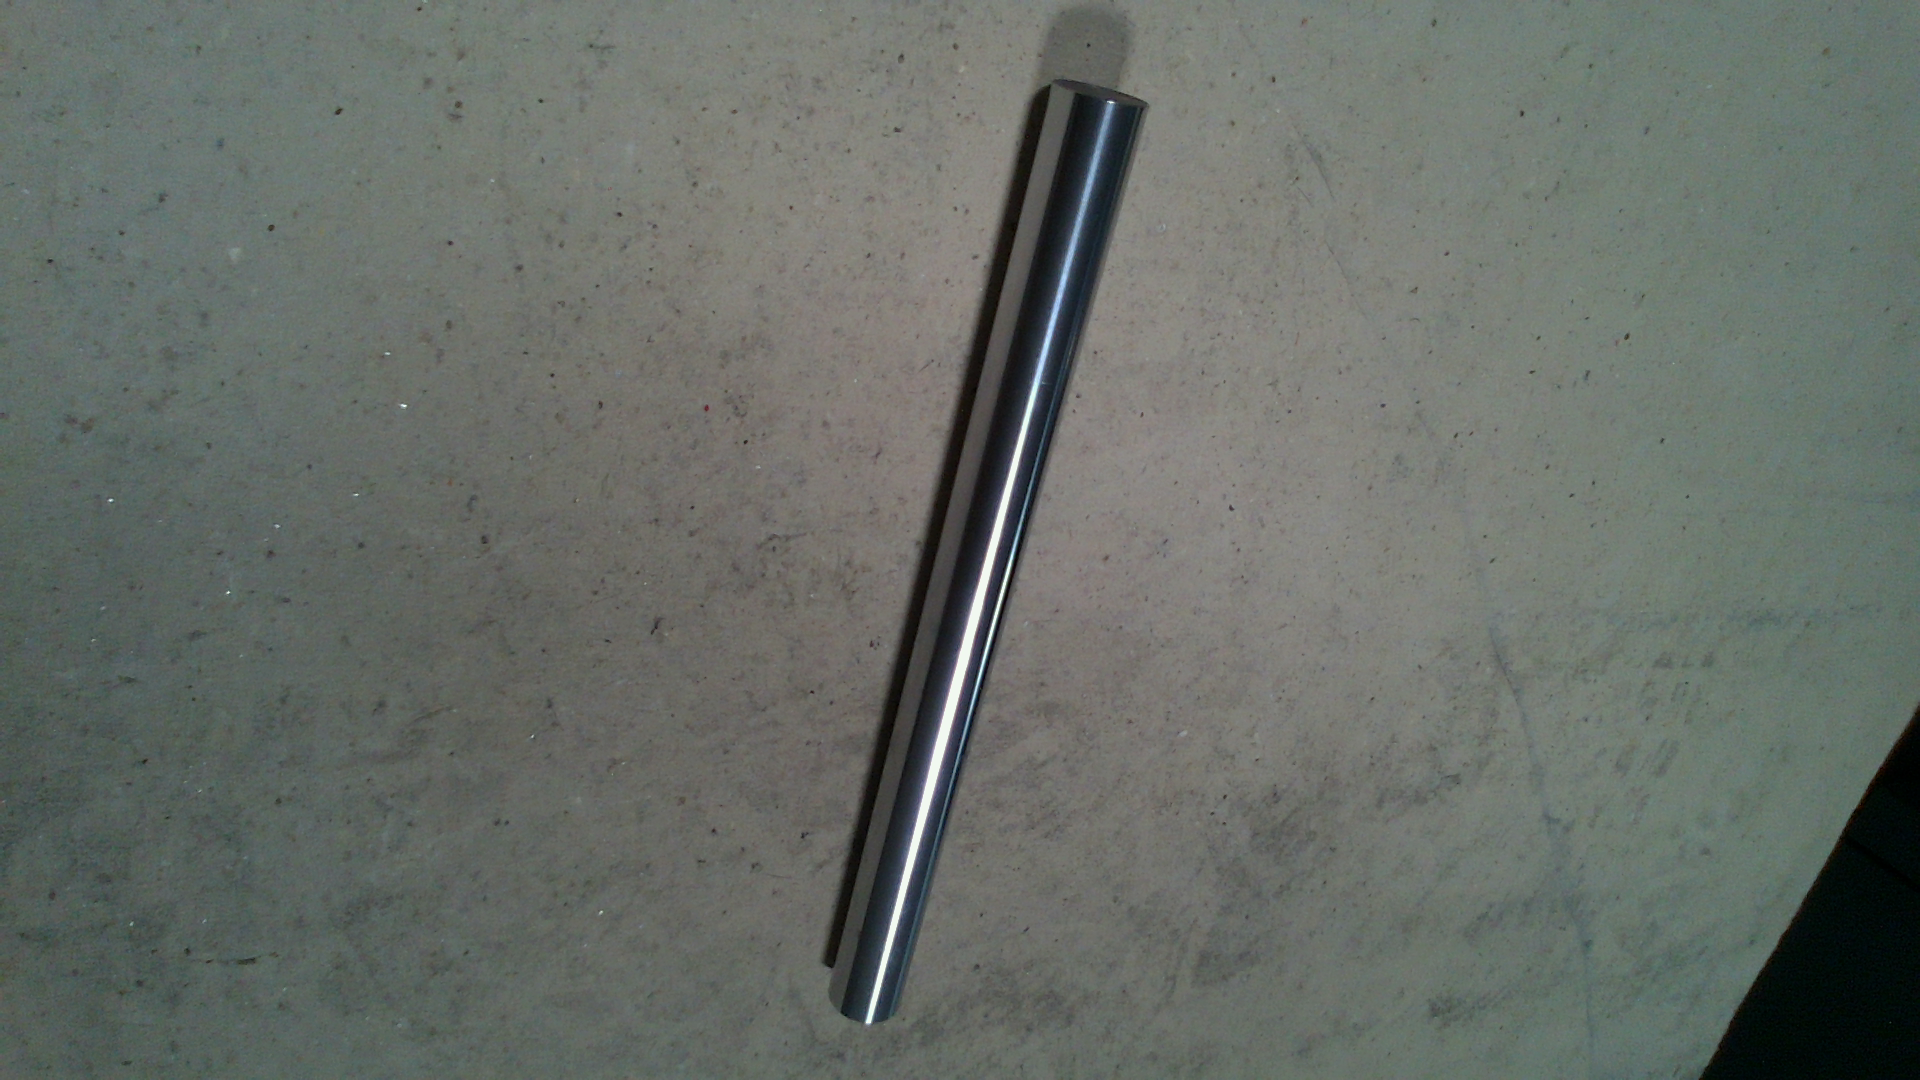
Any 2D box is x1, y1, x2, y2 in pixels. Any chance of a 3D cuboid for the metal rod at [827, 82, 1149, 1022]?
[{"bbox_3d":[0.001,0.022,0.403,0.025,0.025,0.300,0,118,-28],"label":"metal rod"}]
